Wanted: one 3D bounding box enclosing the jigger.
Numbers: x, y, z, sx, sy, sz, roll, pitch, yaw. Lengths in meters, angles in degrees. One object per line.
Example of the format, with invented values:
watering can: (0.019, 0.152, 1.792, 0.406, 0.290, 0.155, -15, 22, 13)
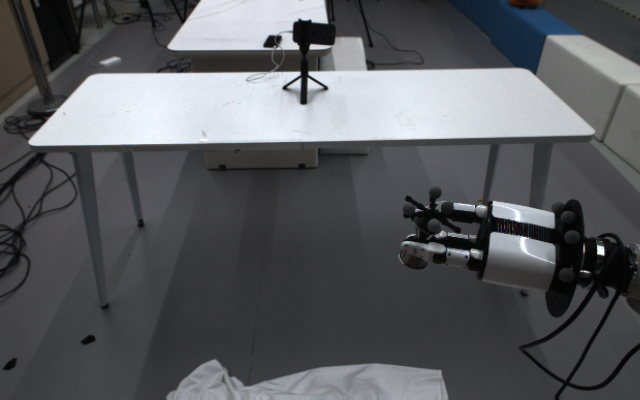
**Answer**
jigger: (0.142, 0.059, 0.690, 0.043, 0.071, 0.043, 10, 35, -7)
